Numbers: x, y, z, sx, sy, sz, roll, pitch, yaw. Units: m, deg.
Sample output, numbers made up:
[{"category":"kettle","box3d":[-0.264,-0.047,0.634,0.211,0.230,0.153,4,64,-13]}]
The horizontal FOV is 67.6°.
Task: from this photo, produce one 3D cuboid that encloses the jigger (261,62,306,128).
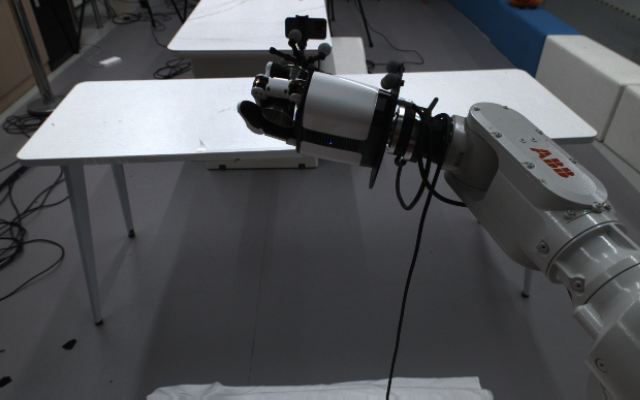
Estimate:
[{"category":"jigger","box3d":[-0.040,-0.134,0.614,0.043,0.043,0.071,15,70,18]}]
